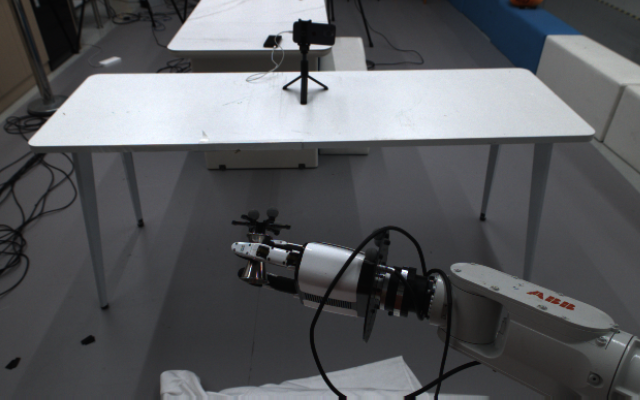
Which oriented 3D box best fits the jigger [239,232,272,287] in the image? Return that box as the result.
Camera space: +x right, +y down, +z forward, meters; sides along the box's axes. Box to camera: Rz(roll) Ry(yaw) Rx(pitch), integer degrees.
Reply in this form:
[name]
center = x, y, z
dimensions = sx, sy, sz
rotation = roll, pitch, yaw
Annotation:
[jigger]
center = -0.094, 0.086, 0.712
dimensions = 0.043, 0.043, 0.071
rotation = 4, 71, 3
